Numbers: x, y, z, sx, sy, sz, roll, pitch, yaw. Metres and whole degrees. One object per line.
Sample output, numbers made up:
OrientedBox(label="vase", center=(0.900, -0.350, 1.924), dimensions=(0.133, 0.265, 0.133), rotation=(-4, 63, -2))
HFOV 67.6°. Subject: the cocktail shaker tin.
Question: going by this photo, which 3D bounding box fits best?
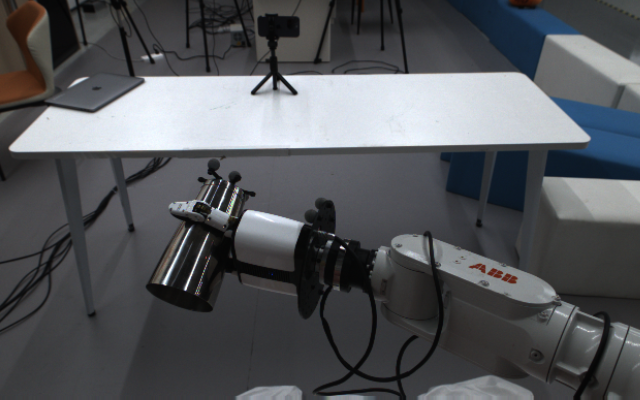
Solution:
OrientedBox(label="cocktail shaker tin", center=(-0.161, 0.058, 0.669), dimensions=(0.093, 0.093, 0.170), rotation=(10, 60, 12))
